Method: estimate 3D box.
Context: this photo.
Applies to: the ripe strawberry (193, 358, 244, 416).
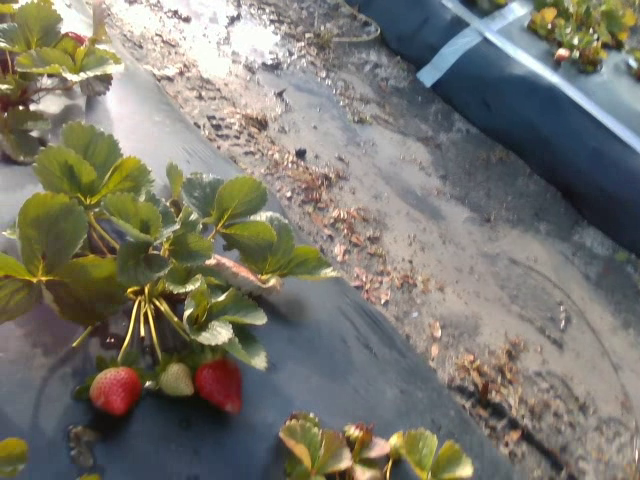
[{"bbox_3d":[-0.093,0.140,0.552,0.048,0.065,0.050,-28,-25,0],"label":"ripe strawberry"}]
